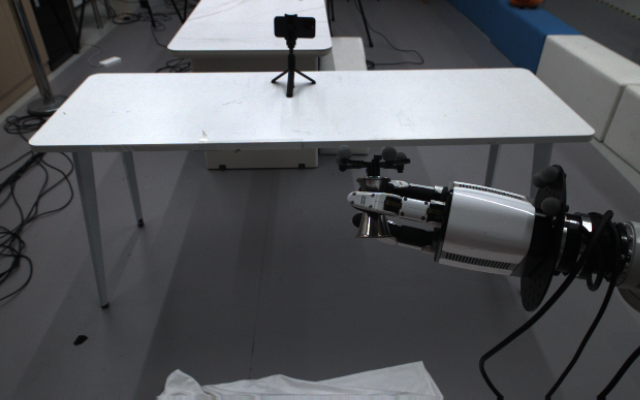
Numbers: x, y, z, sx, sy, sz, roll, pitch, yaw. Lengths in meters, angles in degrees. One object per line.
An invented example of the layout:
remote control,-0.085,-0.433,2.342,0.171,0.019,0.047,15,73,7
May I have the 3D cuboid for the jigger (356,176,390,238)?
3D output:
jigger,0.061,0.009,0.559,0.043,0.071,0.043,1,-5,0
